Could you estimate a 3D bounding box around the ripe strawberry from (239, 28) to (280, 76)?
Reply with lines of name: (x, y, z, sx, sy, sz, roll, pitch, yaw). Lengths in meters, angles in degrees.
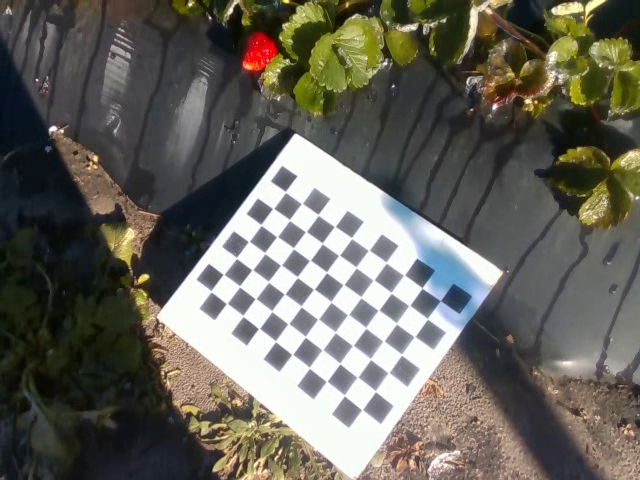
ripe strawberry: (-0.062, -0.177, 0.590, 0.042, 0.047, 0.053, 29, 46, 12)
